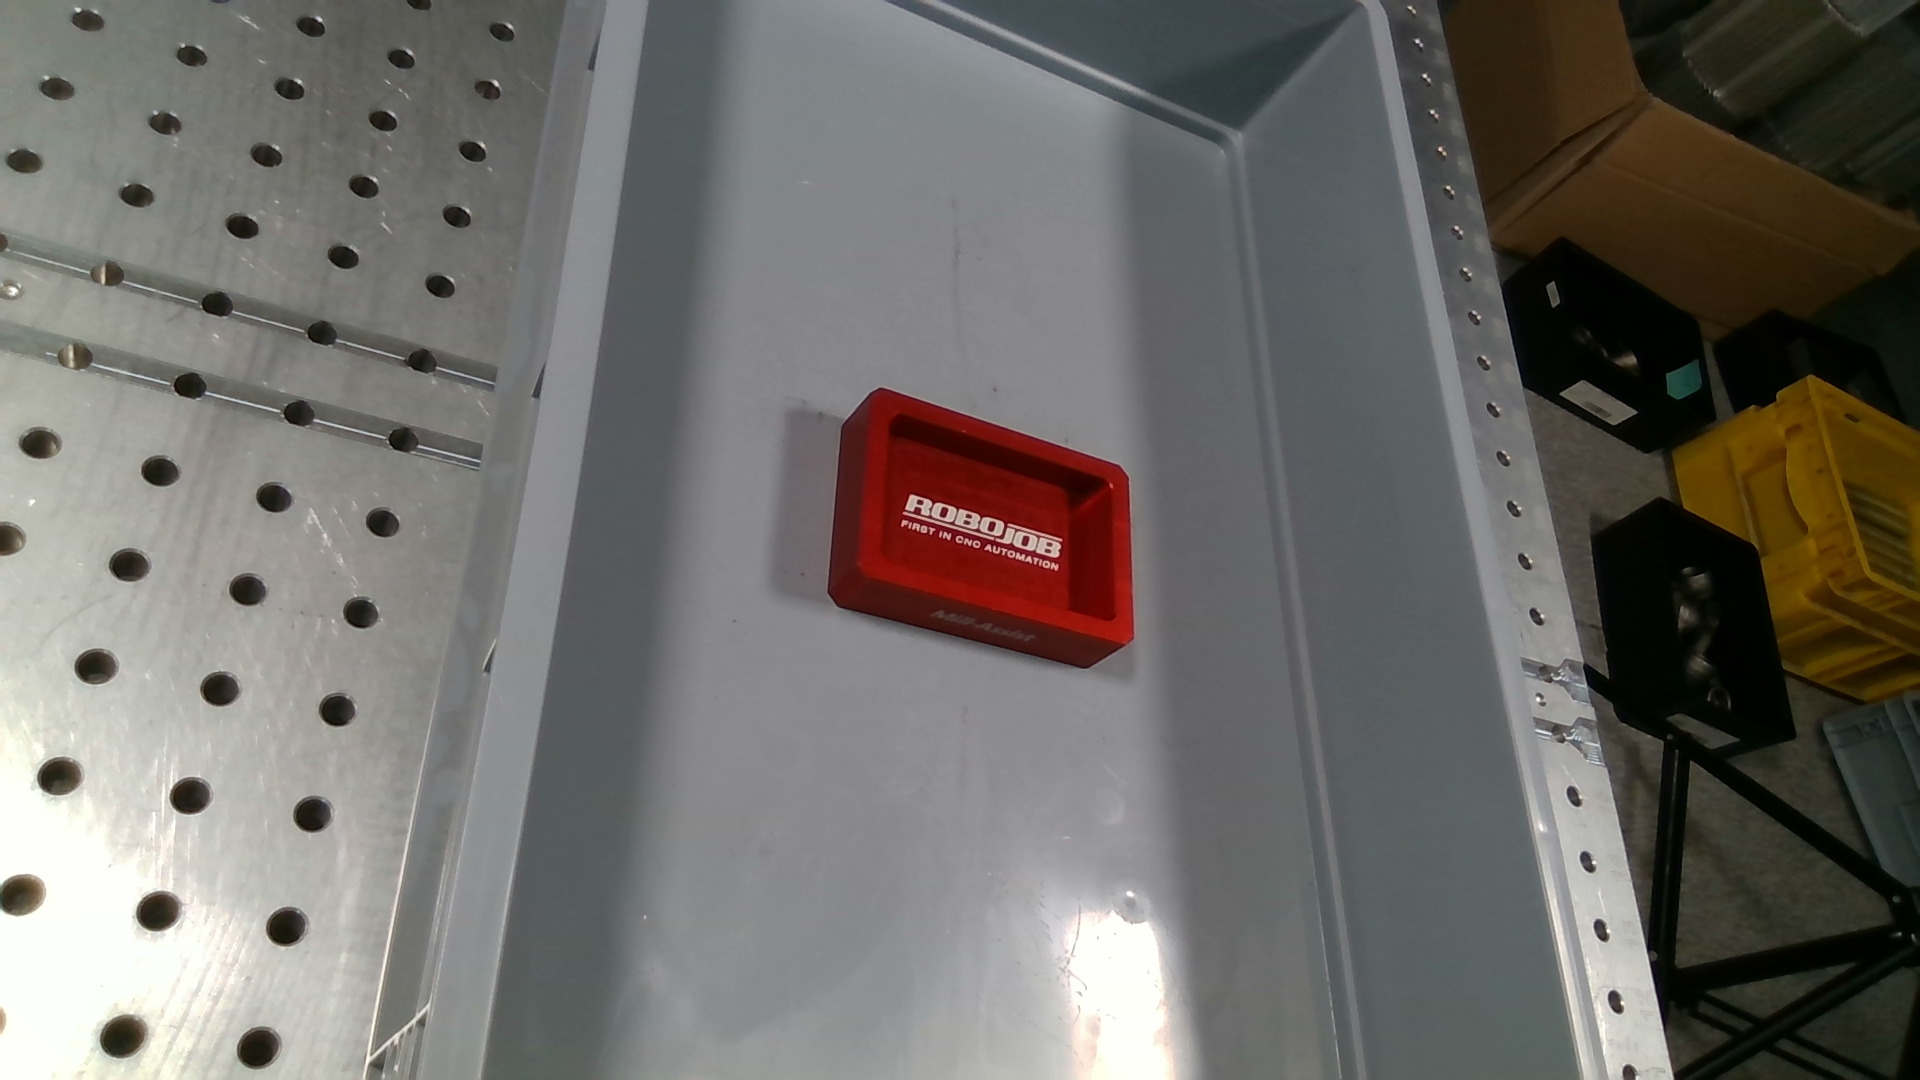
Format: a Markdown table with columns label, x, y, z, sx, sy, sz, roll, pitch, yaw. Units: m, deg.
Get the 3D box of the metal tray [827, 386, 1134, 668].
| label | x | y | z | sx | sy | sz | roll | pitch | yaw |
| --- | --- | --- | --- | --- | --- | --- | --- | --- | --- |
| metal tray | 0.011 | -0.004 | 0.589 | 0.130 | 0.030 | 0.090 | 16 | 58 | -24 |
